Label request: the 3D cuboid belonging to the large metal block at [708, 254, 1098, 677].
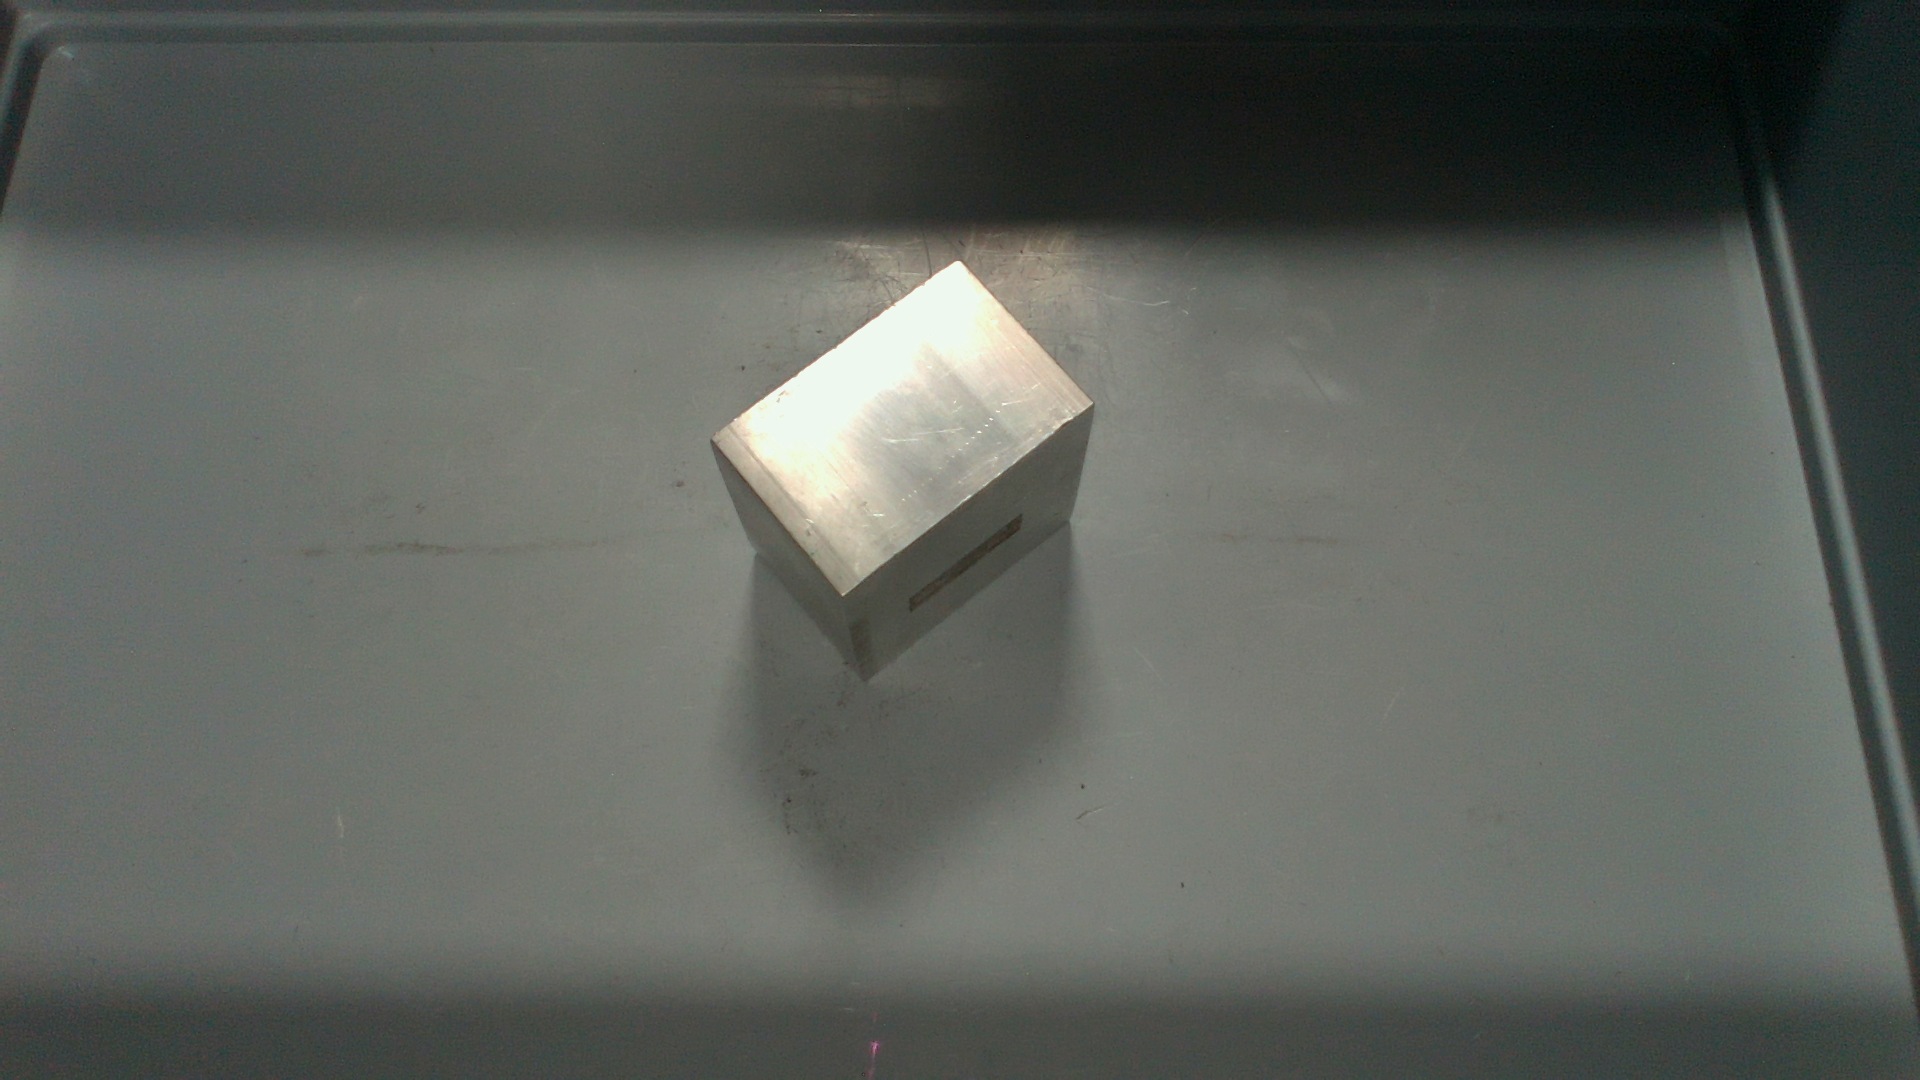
[{"bbox_3d":[-0.013,-0.016,0.368,0.080,0.080,0.050,-38,74,-13],"label":"large metal block"}]
